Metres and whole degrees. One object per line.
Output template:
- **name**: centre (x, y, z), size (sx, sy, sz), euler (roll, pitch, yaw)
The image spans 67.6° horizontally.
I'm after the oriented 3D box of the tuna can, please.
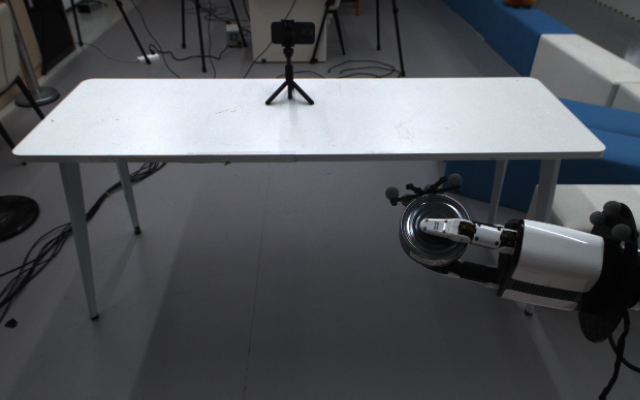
- **tuna can**: centre (0.142, 0.034, 0.590), size (0.085, 0.034, 0.085), euler (-4, 68, 9)
